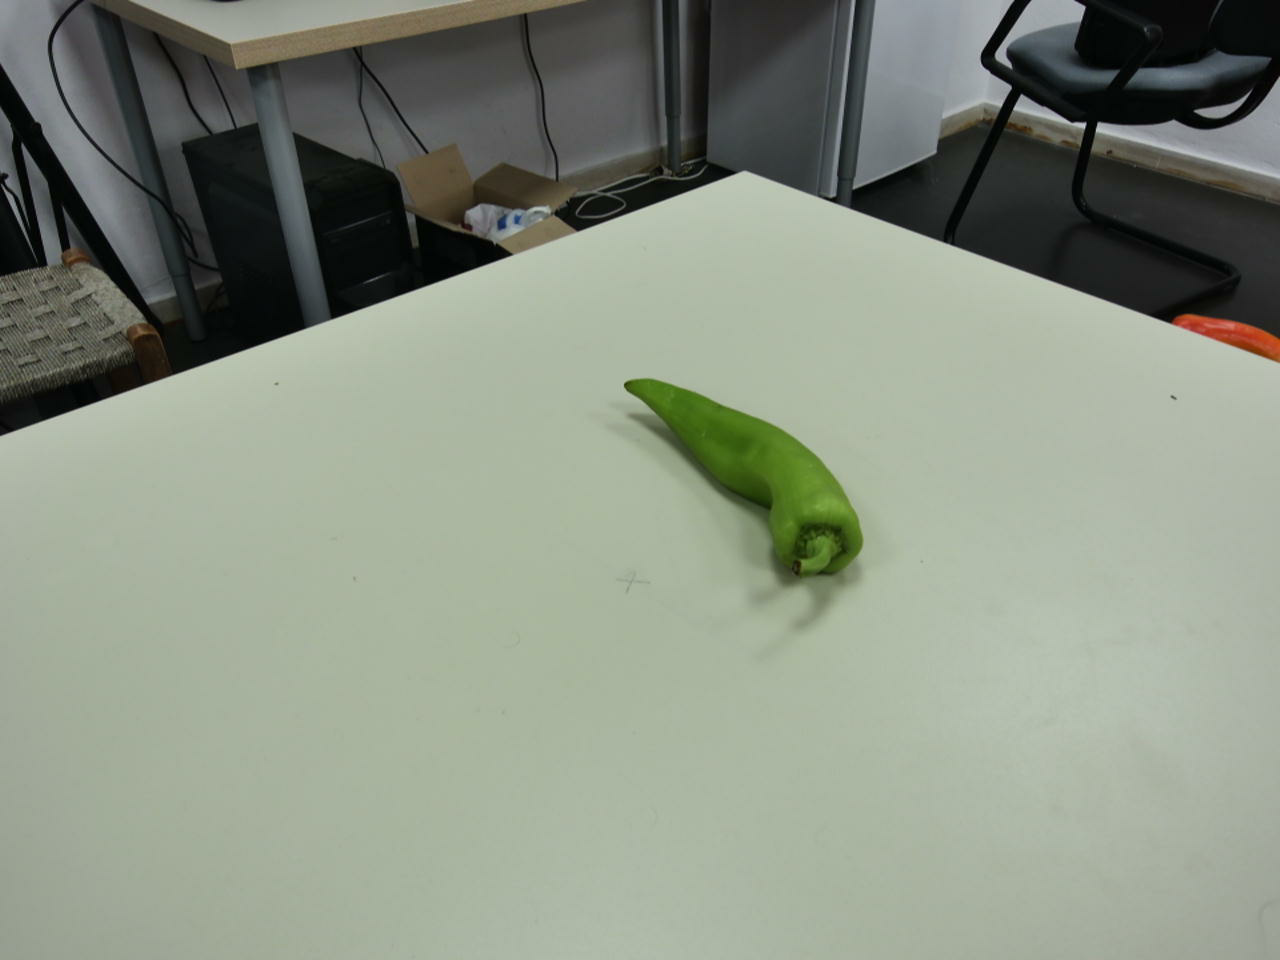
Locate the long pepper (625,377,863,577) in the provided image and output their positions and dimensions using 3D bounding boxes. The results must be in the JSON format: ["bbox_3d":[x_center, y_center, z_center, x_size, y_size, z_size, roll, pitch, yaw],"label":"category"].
[{"bbox_3d":[0.060,-0.011,0.554,0.065,0.045,0.204,-15,38,-19],"label":"long pepper"}]
